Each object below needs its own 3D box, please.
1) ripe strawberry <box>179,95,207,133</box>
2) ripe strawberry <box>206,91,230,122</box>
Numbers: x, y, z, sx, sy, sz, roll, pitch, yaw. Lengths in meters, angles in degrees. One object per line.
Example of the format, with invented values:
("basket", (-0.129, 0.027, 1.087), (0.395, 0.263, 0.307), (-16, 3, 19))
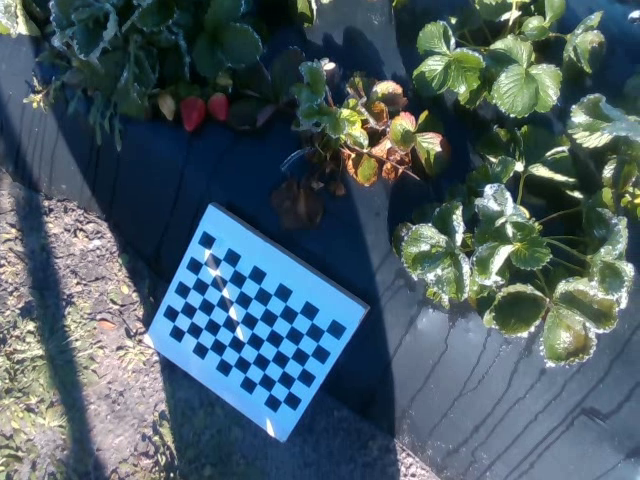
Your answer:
("ripe strawberry", (-0.175, -0.168, 0.902), (0.036, 0.052, 0.040), (-5, -27, 20))
("ripe strawberry", (-0.137, -0.182, 0.904), (0.036, 0.041, 0.030), (-31, -5, 24))
